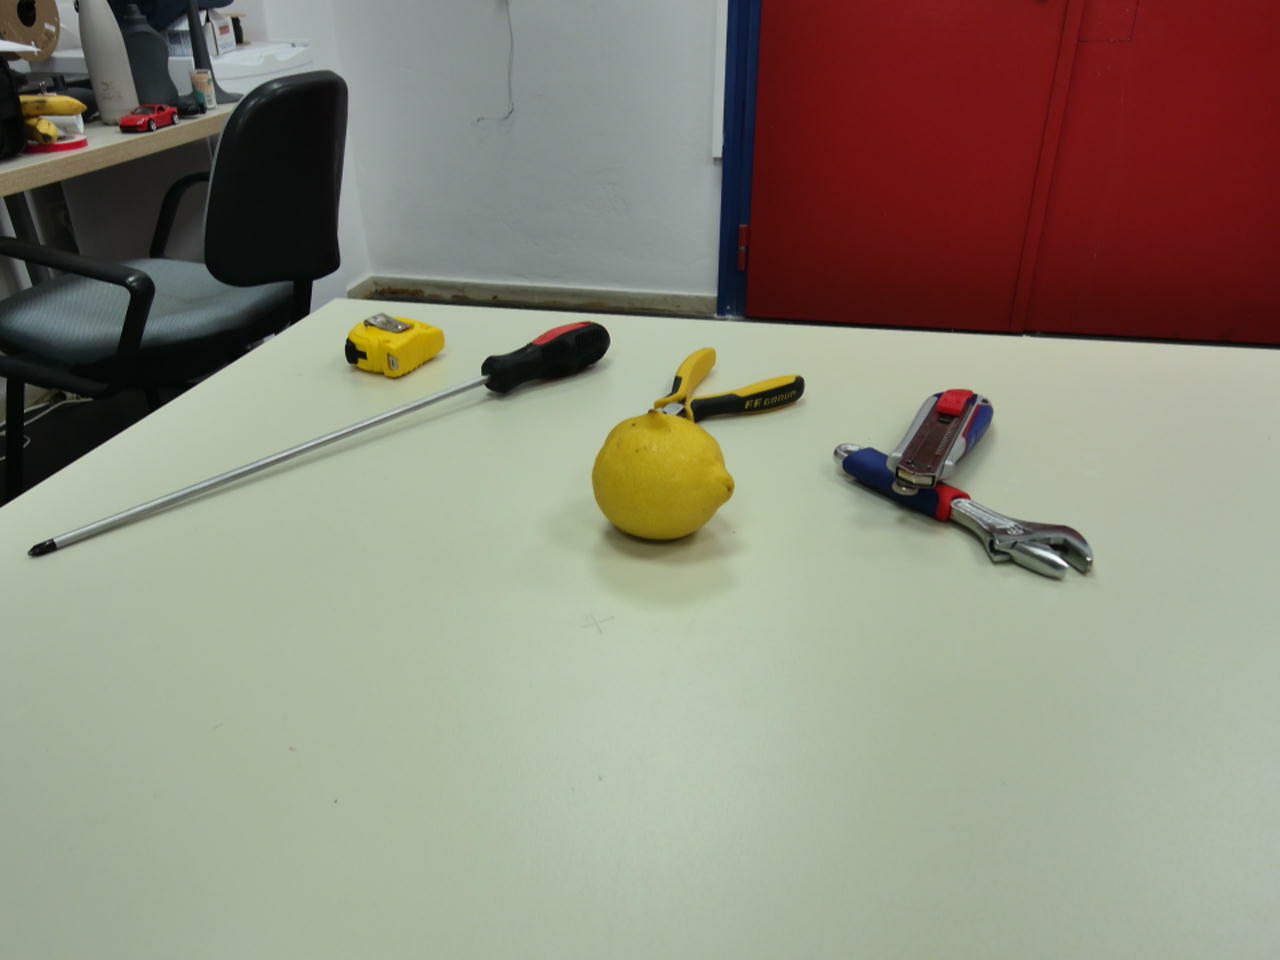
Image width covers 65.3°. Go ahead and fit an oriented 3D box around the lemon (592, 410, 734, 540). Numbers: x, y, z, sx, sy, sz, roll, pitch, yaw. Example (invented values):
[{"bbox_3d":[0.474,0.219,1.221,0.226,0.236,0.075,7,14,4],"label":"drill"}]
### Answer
[{"bbox_3d":[0.010,-0.005,0.534,0.070,0.071,0.071,-11,27,-19],"label":"lemon"}]
